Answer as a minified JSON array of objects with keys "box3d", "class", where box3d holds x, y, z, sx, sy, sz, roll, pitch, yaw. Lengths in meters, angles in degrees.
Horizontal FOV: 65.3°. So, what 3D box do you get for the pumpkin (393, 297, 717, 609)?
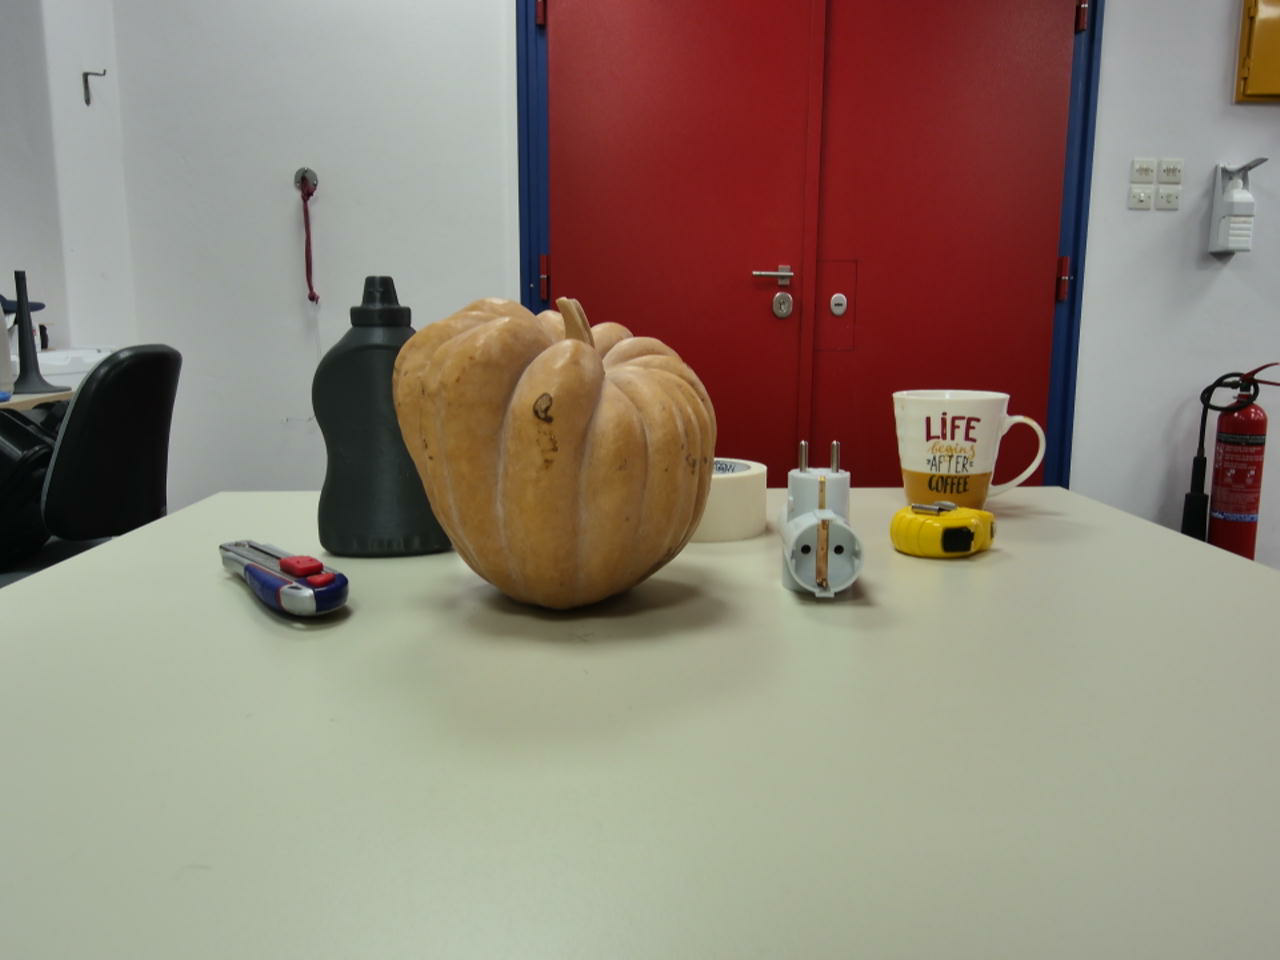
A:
[{"box3d":[-0.049,-0.018,0.587,0.199,0.177,0.198,1,8,0],"class":"pumpkin"}]
